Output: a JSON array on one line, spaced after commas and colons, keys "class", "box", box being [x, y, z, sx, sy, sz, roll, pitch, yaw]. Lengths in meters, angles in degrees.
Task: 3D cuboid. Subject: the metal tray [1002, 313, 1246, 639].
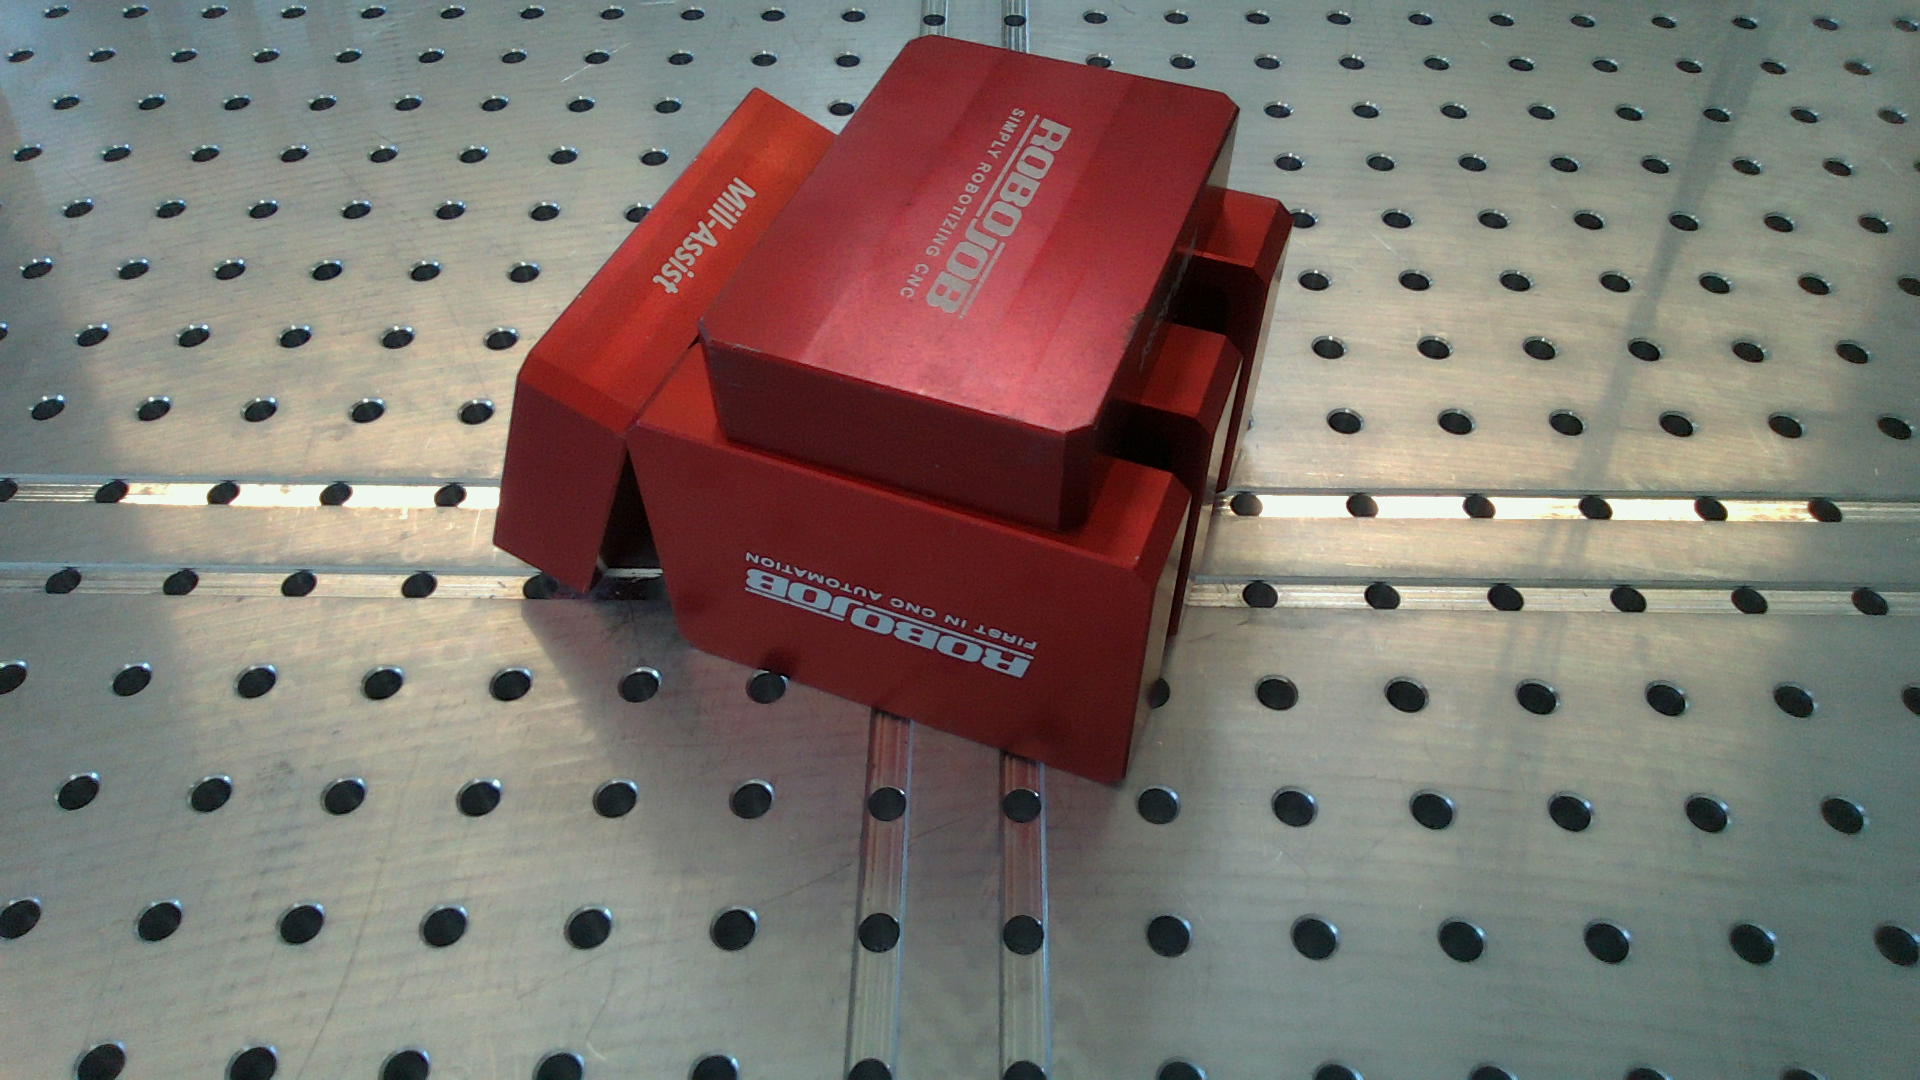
[{"class": "metal tray", "box": [0.004, -0.027, 0.373, 0.130, 0.090, 0.030, 16, 51, 12]}]

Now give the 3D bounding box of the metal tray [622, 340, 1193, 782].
[{"class": "metal tray", "box": [-0.013, 0.007, 0.345, 0.130, 0.090, 0.030, 17, 52, 13]}]

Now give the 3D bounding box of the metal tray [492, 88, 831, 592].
[{"class": "metal tray", "box": [-0.083, -0.058, 0.398, 0.030, 0.090, 0.130, 29, 53, -4]}]

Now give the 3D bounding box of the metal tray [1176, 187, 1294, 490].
[{"class": "metal tray", "box": [0.025, -0.069, 0.409, 0.130, 0.090, 0.030, 16, 52, 14]}]

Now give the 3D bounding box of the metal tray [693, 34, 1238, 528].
[{"class": "metal tray", "box": [0.007, -0.069, 0.330, 0.090, 0.030, 0.130, 16, 52, 13]}]
